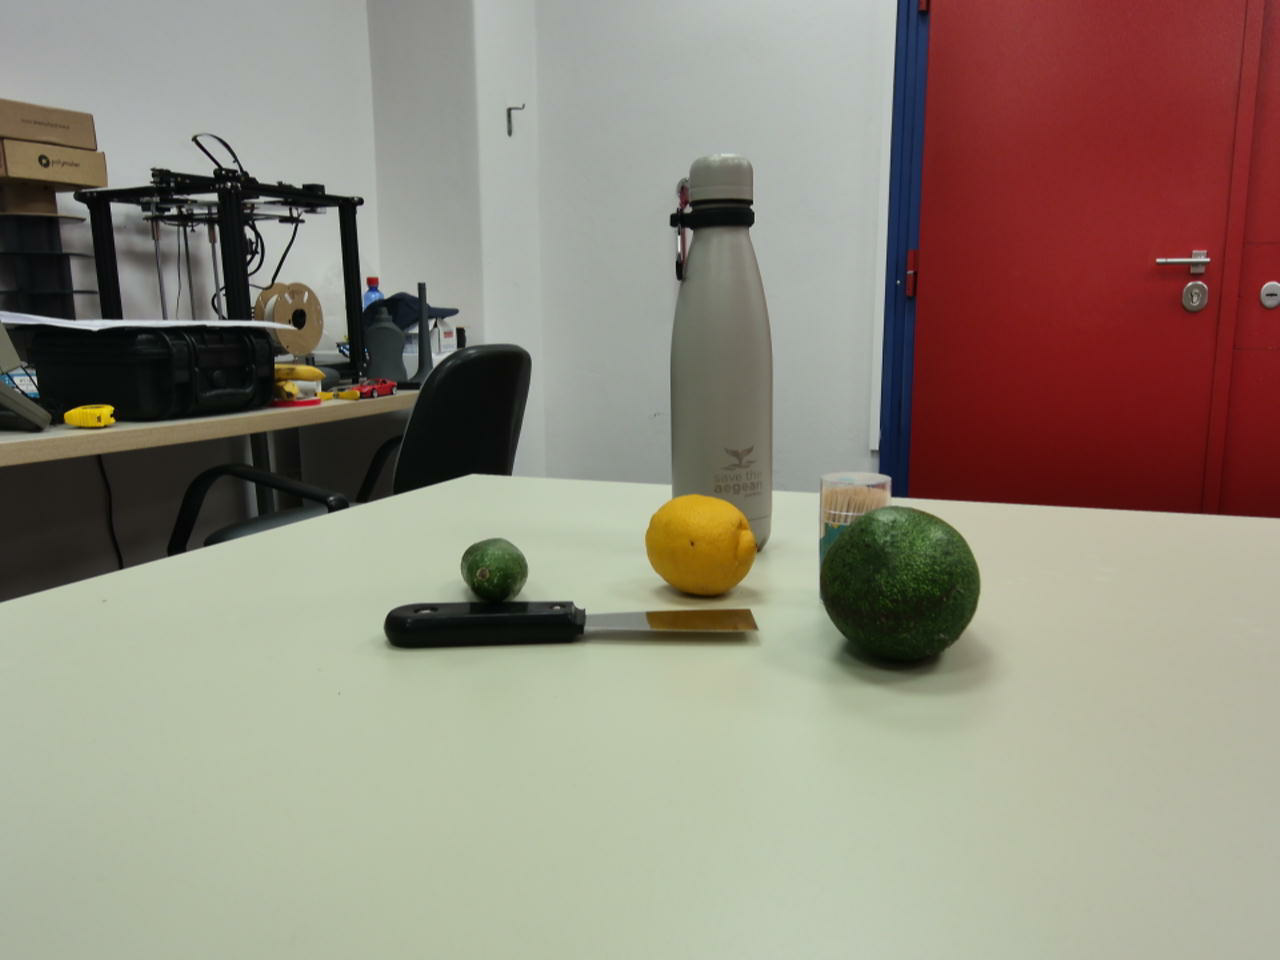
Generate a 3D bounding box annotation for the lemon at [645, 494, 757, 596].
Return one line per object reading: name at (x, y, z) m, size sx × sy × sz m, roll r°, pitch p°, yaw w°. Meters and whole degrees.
lemon at (0.036, 0.039, 0.603) m, size 0.061 × 0.059 × 0.067 m, roll -2°, pitch 8°, yaw -25°
